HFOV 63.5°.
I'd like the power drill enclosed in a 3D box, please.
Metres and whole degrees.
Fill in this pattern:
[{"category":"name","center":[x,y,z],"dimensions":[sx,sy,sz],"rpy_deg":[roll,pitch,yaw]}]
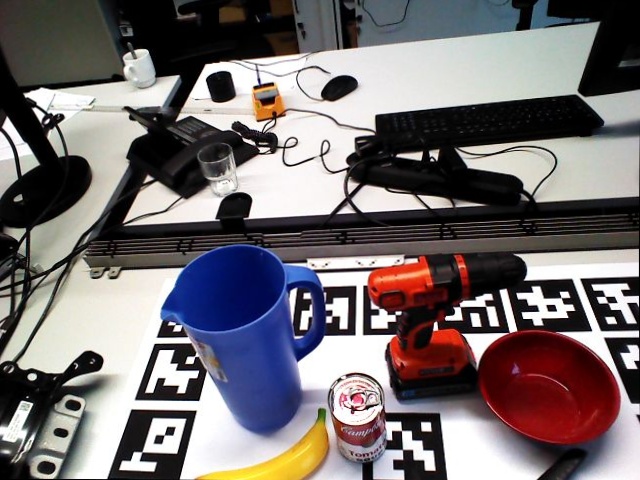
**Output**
[{"category":"power drill","center":[0.166,0.085,0.635],"dimensions":[0.185,0.187,0.057],"rpy_deg":[-7,43,5]}]

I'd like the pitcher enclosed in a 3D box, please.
[{"category":"pitcher","center":[-0.074,0.119,0.641],"dimensions":[0.188,0.243,0.133],"rpy_deg":[-20,40,-9]}]

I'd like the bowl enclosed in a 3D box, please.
[{"category":"bowl","center":[0.283,0.178,0.633],"dimensions":[0.162,0.055,0.160],"rpy_deg":[-7,44,6]}]

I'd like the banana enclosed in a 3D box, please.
[{"category":"banana","center":[-0.068,0.272,0.631],"dimensions":[0.197,0.039,0.074],"rpy_deg":[-20,35,-11]}]

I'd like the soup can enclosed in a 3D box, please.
[{"category":"soup can","center":[0.053,0.205,0.626],"dimensions":[0.068,0.102,0.067],"rpy_deg":[-7,35,5]}]

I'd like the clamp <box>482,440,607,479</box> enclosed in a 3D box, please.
[{"category":"clamp","center":[0.215,0.293,0.531],"dimensions":[0.203,0.037,0.164],"rpy_deg":[-6,47,7]}]
